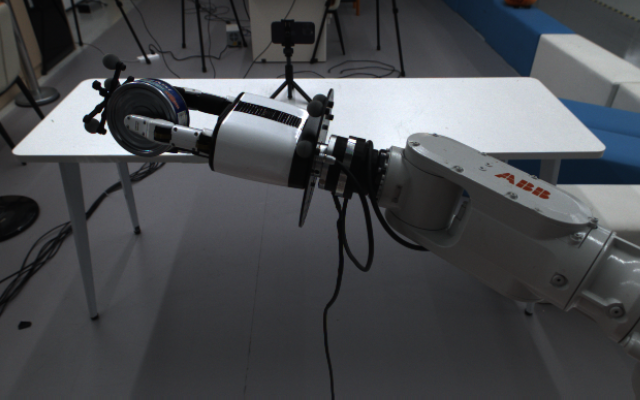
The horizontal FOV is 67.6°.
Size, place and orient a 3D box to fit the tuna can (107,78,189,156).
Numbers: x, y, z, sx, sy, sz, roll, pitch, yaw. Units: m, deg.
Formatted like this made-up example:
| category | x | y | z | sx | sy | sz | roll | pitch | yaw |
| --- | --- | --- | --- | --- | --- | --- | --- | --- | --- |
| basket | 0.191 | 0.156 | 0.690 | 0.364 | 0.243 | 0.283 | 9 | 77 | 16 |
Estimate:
| category | x | y | z | sx | sy | sz | roll | pitch | yaw |
| --- | --- | --- | --- | --- | --- | --- | --- | --- | --- |
| tuna can | -0.193 | -0.093 | 0.547 | 0.085 | 0.085 | 0.034 | 6 | 20 | 6 |
